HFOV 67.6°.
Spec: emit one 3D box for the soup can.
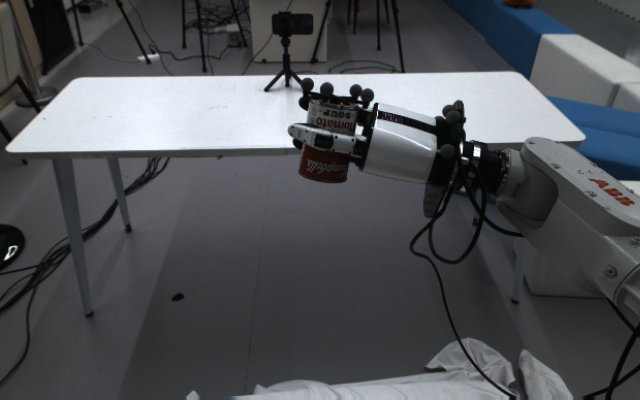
[{"bbox_3d":[0.012,-0.081,0.645,0.067,0.101,0.067,8,19,-3],"label":"soup can"}]
